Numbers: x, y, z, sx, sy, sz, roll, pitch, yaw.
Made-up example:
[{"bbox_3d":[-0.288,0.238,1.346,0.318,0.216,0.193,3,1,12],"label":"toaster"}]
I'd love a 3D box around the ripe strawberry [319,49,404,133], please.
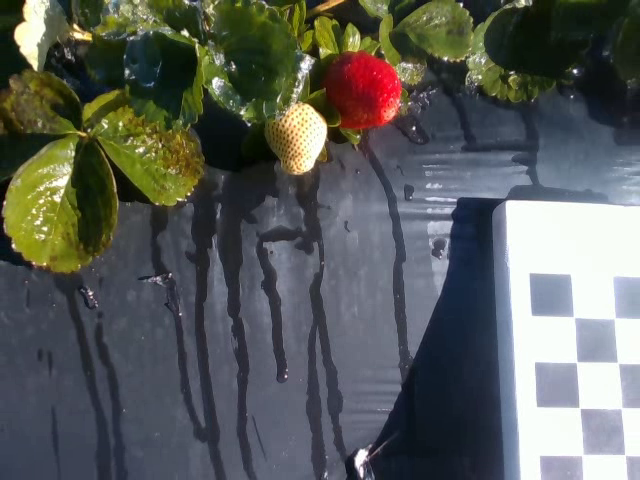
[{"bbox_3d":[0.028,-0.073,0.330,0.042,0.046,0.061,-12,39,-7],"label":"ripe strawberry"}]
